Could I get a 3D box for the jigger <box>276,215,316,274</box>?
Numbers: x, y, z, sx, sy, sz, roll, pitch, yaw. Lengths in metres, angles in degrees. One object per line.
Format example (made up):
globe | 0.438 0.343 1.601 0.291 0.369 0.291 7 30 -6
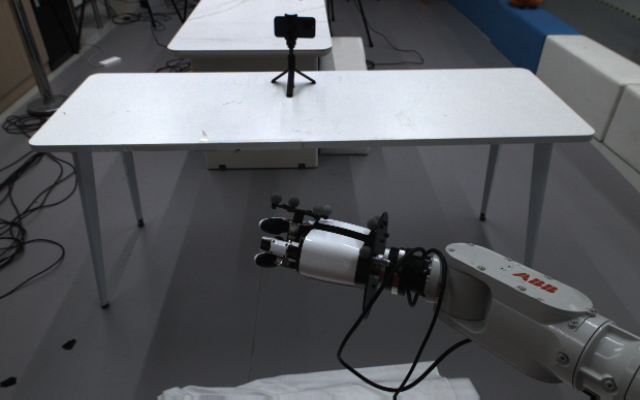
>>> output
jigger | -0.039 0.067 0.738 0.043 0.071 0.043 14 1 0
